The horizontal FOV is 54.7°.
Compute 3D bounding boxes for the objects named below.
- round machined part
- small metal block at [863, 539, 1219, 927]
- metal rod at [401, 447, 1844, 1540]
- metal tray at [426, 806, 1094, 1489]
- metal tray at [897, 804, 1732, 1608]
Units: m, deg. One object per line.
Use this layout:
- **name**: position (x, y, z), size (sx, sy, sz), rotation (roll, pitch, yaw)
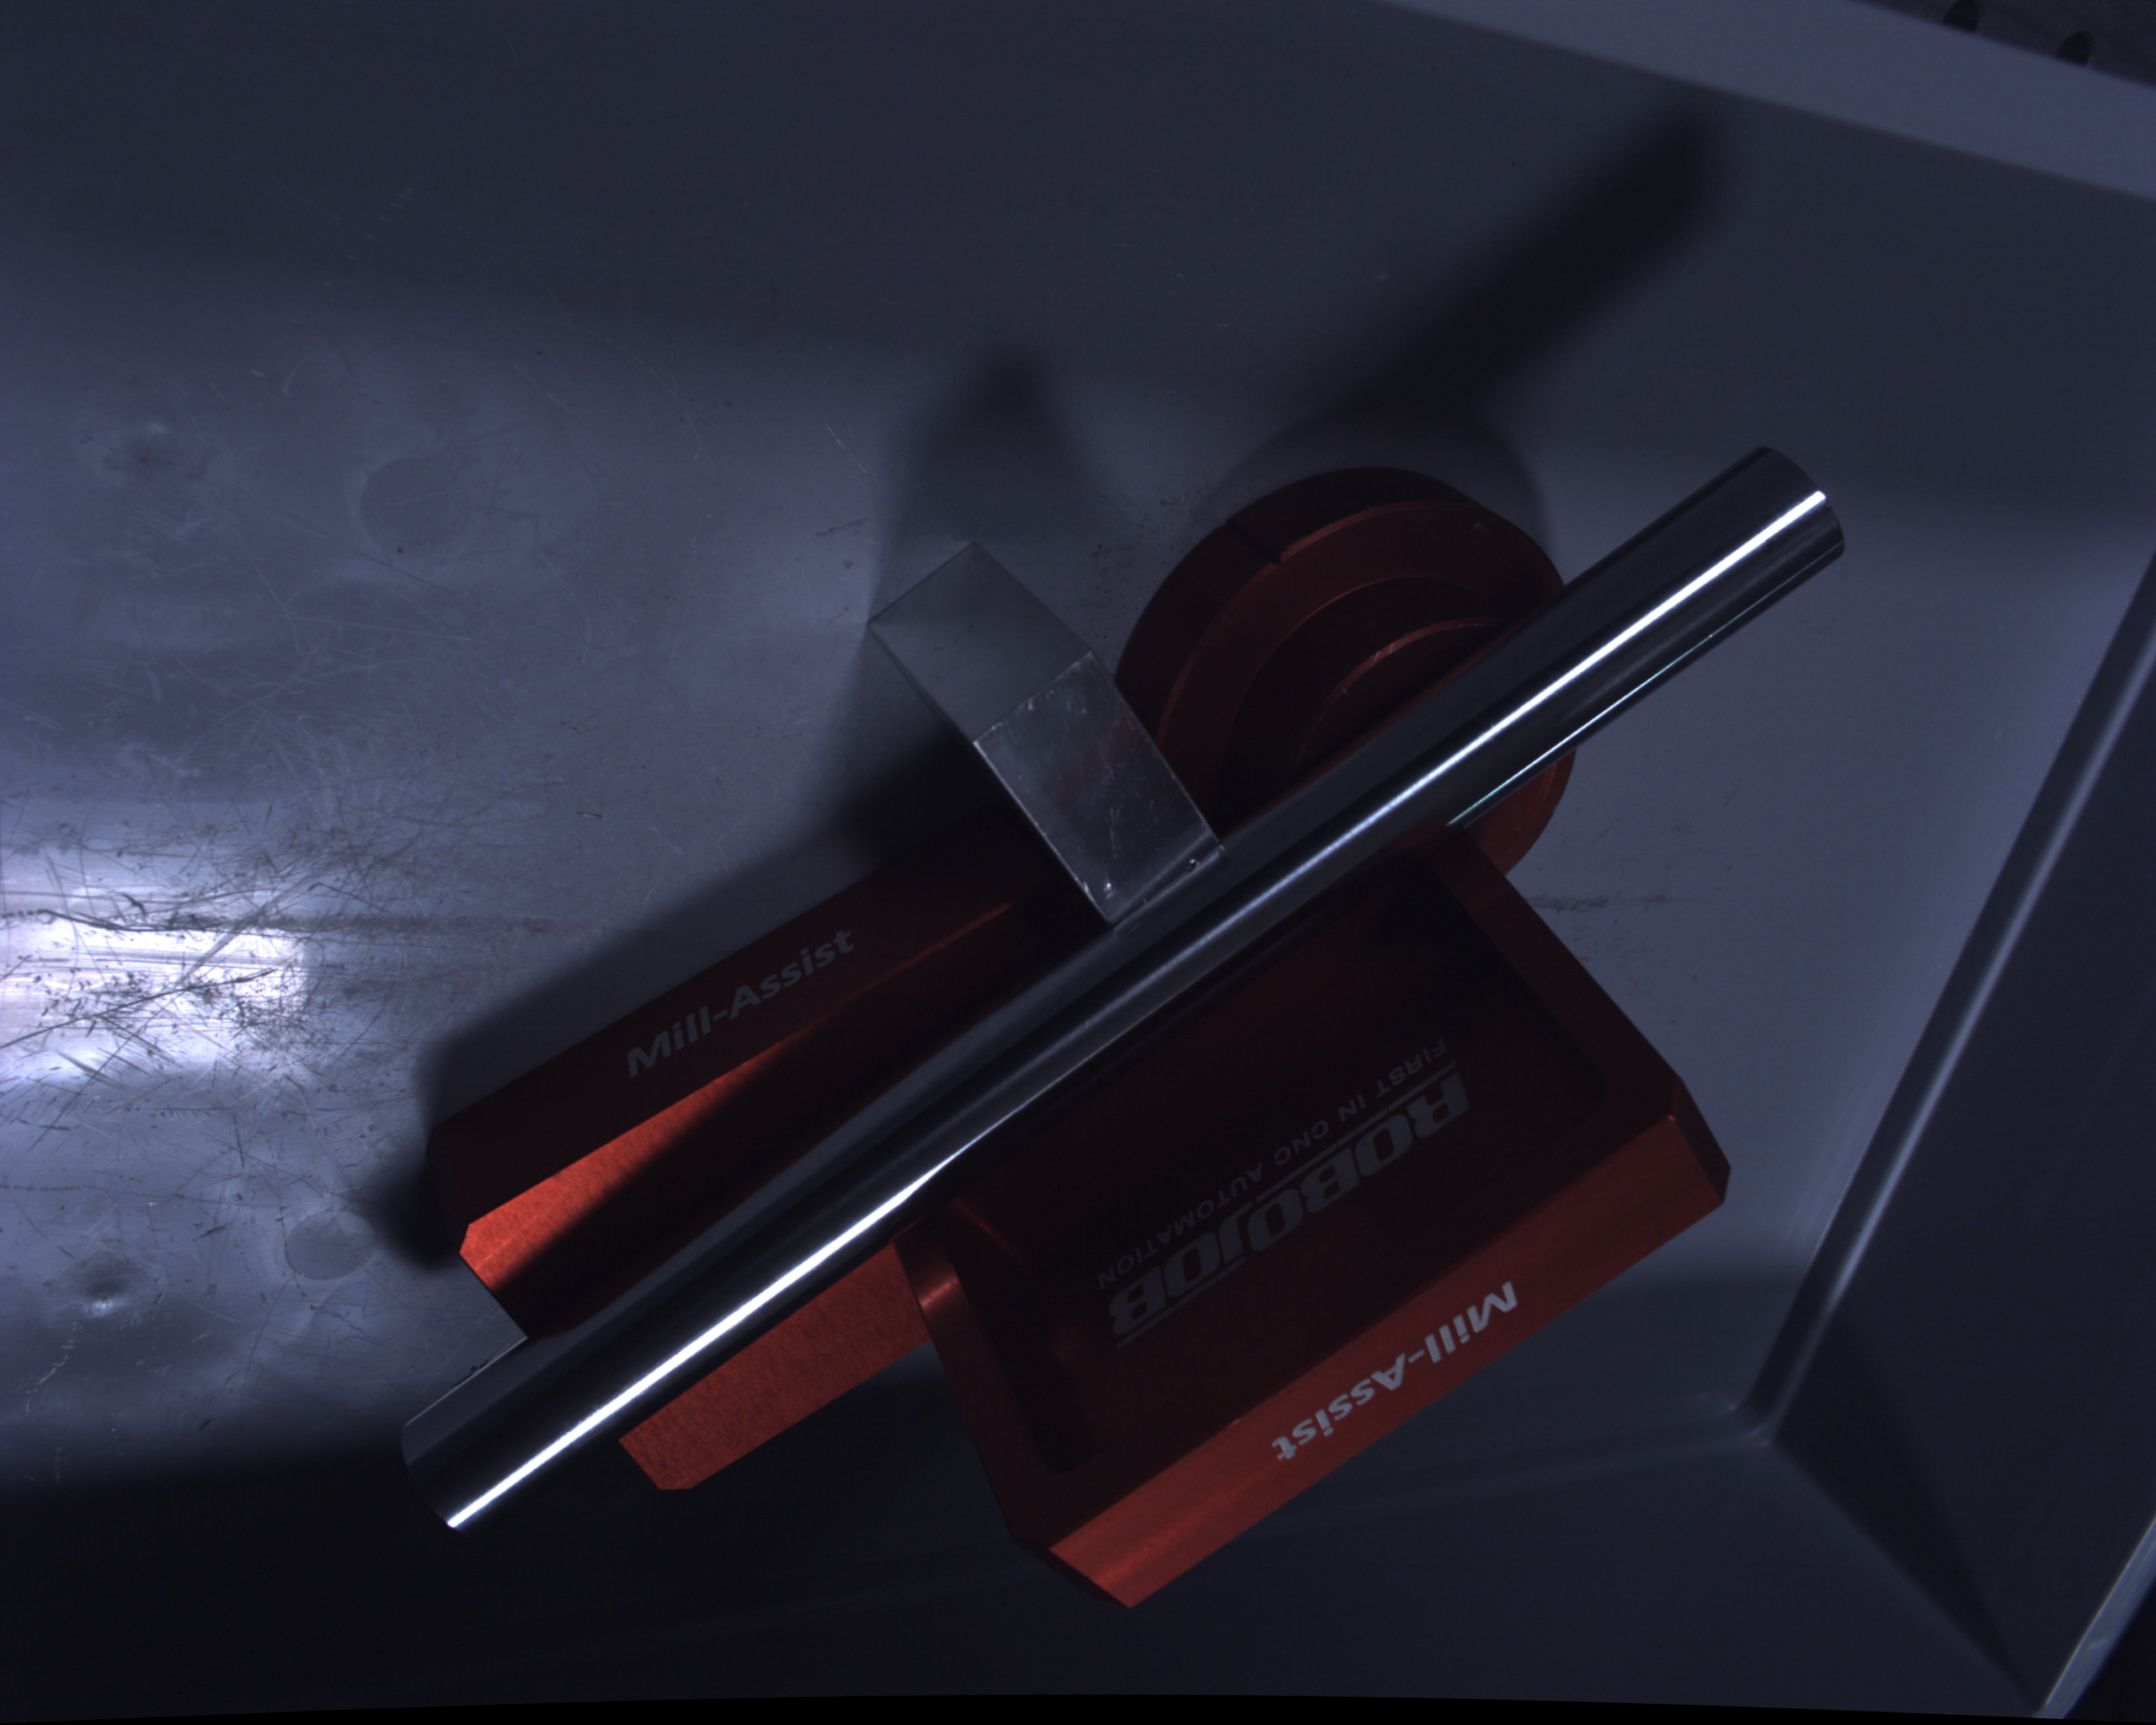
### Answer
- **round machined part**: position (0.059, -0.025, 0.414), size (0.099, 0.042, 0.097), rotation (-14, 125, -21)
- **small metal block**: position (-0.007, -0.024, 0.374), size (0.025, 0.050, 0.050), rotation (-38, 130, -3)
- **metal rod**: position (0.008, 0.024, 0.376), size (0.301, 0.025, 0.025), rotation (-36, 130, 1)
- **metal tray**: position (-0.048, 0.058, 0.415), size (0.131, 0.030, 0.090), rotation (-31, 129, -9)
- **metal tray**: position (0.036, 0.057, 0.372), size (0.130, 0.090, 0.030), rotation (-35, 132, 3)
